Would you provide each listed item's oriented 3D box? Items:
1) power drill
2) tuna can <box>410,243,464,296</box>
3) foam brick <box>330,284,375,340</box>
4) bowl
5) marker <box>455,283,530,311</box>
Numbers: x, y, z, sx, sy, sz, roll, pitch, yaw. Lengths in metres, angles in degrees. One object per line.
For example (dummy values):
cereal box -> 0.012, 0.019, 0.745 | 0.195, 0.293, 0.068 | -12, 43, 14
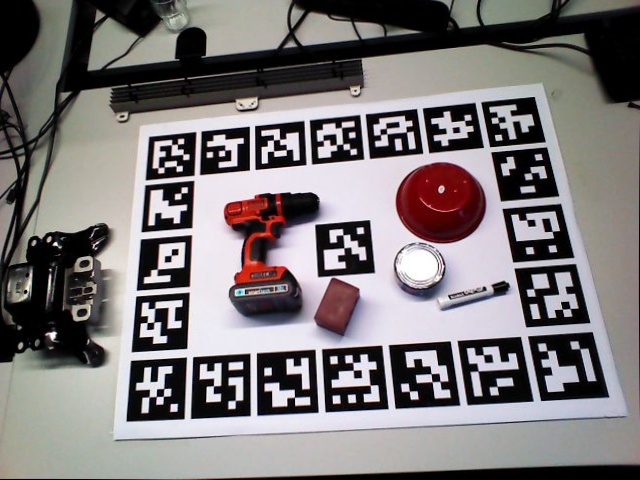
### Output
power drill -> -0.065, 0.025, 0.911 | 0.185, 0.057, 0.186 | -5, 66, 2
tuna can -> 0.196, 0.050, 0.871 | 0.086, 0.034, 0.085 | -2, 69, 5
foam brick -> 0.055, 0.120, 0.863 | 0.051, 0.053, 0.077 | 18, 74, 13
bowl -> 0.239, -0.074, 0.913 | 0.162, 0.055, 0.161 | -5, 61, 9
marker -> 0.284, 0.093, 0.849 | 0.121, 0.020, 0.019 | -14, 69, 2
